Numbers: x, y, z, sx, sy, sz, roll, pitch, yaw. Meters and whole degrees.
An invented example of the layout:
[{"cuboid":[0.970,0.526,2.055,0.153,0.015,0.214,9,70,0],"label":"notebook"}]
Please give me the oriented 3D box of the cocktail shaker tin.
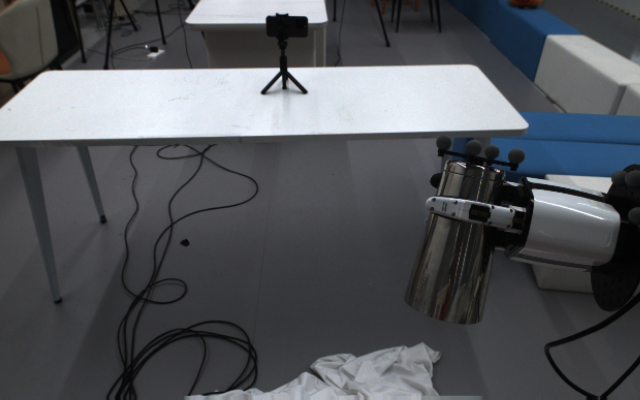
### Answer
[{"cuboid":[0.164,0.041,0.559,0.093,0.170,0.093,10,9,-2],"label":"cocktail shaker tin"}]
